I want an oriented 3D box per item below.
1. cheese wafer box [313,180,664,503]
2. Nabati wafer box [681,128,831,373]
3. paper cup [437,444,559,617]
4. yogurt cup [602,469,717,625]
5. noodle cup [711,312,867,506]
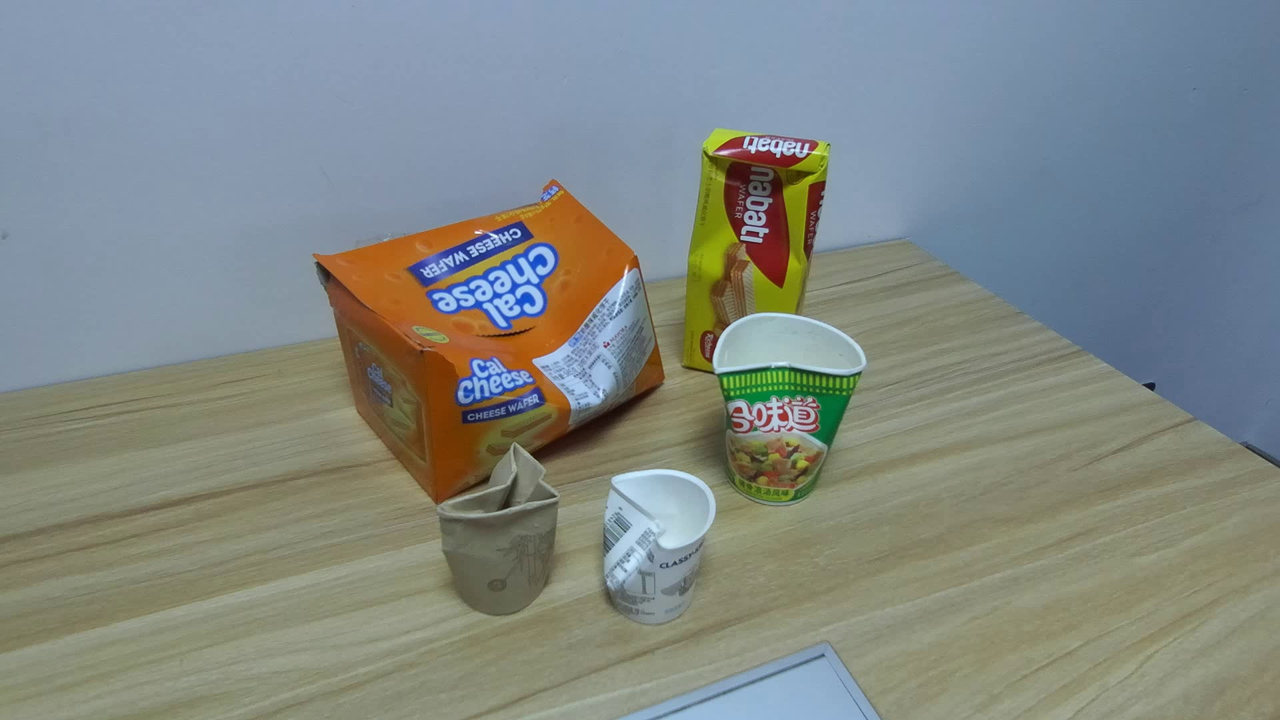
[{"bbox_3d":[-0.097,-0.024,0.549,0.220,0.145,0.190,-26,42,-33],"label":"cheese wafer box"},{"bbox_3d":[0.090,-0.077,0.575,0.096,0.203,0.042,13,33,14],"label":"Nabati wafer box"},{"bbox_3d":[-0.084,0.101,0.420,0.066,0.083,0.058,-12,33,-16],"label":"paper cup"},{"bbox_3d":[0.010,0.111,0.418,0.067,0.070,0.067,0,32,0],"label":"yogurt cup"},{"bbox_3d":[0.099,0.036,0.488,0.093,0.109,0.087,13,37,18],"label":"noodle cup"}]
